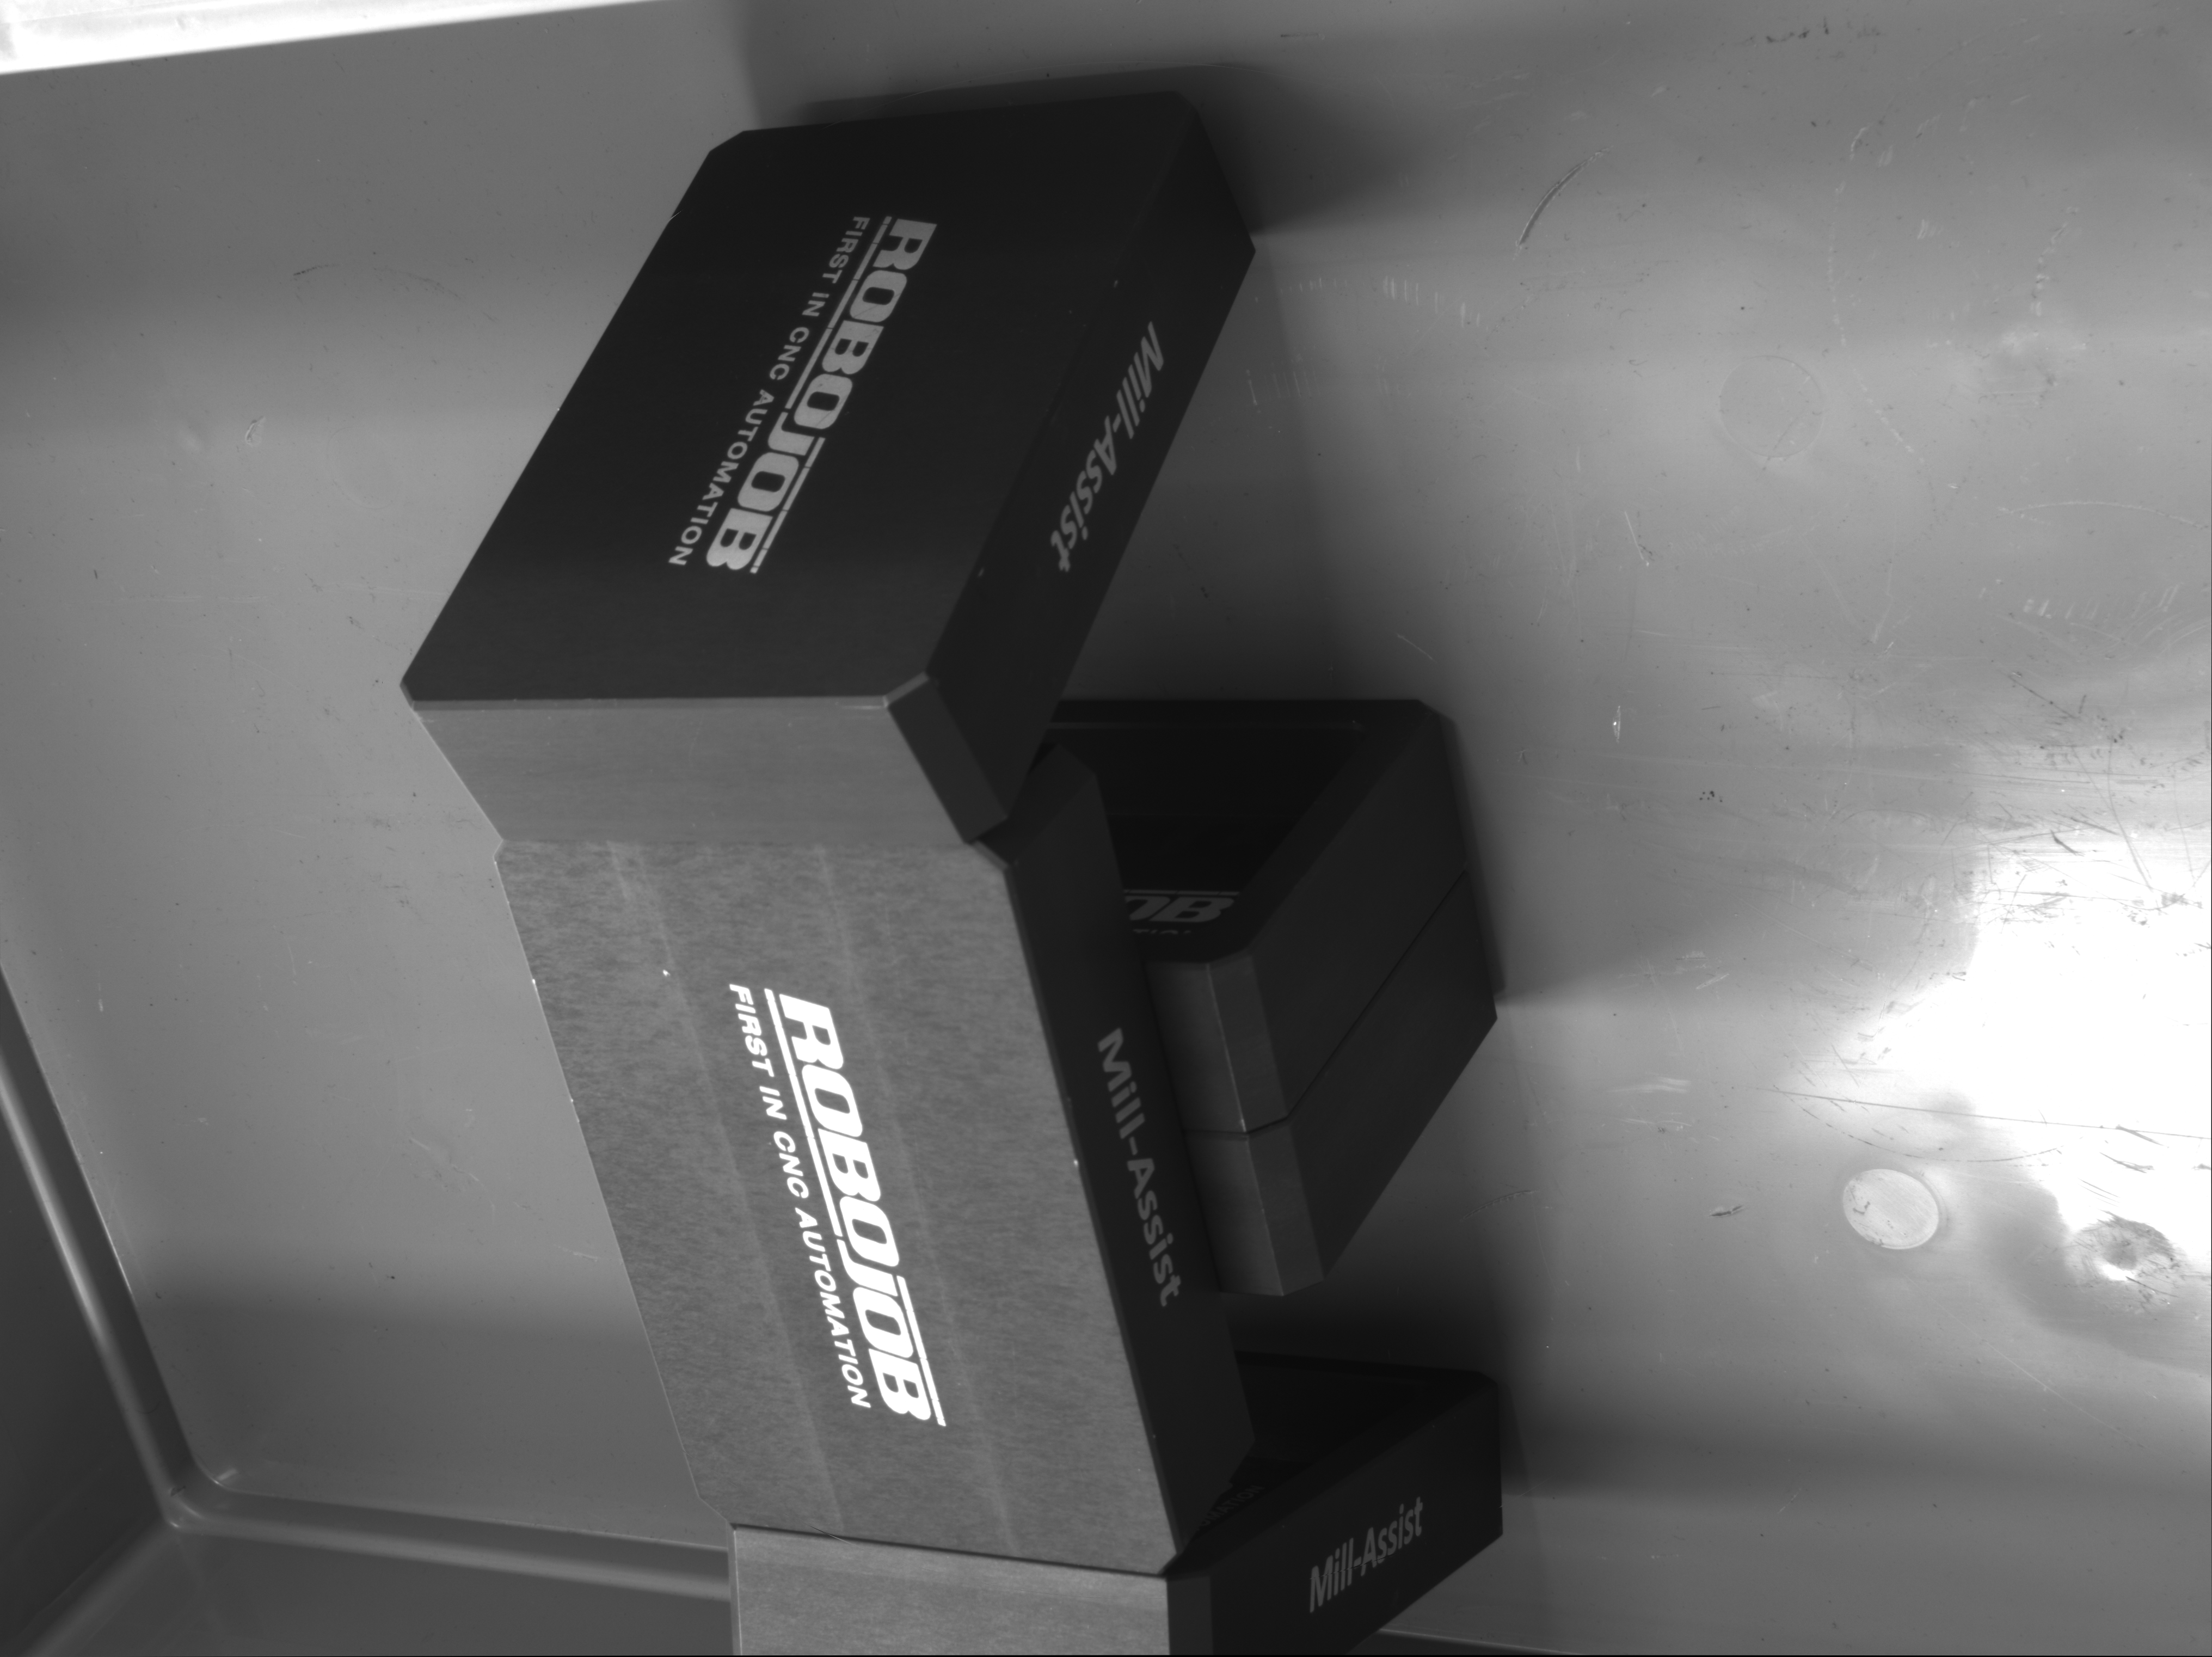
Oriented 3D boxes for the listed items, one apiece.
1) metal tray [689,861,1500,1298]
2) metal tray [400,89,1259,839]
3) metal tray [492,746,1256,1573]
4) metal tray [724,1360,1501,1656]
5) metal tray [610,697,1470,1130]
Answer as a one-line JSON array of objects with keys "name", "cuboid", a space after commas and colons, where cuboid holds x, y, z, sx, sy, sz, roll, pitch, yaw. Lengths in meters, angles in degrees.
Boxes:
[{"name": "metal tray", "cuboid": [-0.009, 0.039, 0.629, 0.130, 0.090, 0.030, 1, 118, 28]}, {"name": "metal tray", "cuboid": [-0.039, -0.057, 0.559, 0.090, 0.130, 0.030, 1, 139, 28]}, {"name": "metal tray", "cuboid": [-0.034, 0.052, 0.571, 0.090, 0.030, 0.130, 0, 119, 27]}, {"name": "metal tray", "cuboid": [0.005, 0.124, 0.645, 0.090, 0.130, 0.030, 0, 97, 28]}, {"name": "metal tray", "cuboid": [-0.015, 0.011, 0.615, 0.130, 0.090, 0.030, 1, 118, 28]}]
